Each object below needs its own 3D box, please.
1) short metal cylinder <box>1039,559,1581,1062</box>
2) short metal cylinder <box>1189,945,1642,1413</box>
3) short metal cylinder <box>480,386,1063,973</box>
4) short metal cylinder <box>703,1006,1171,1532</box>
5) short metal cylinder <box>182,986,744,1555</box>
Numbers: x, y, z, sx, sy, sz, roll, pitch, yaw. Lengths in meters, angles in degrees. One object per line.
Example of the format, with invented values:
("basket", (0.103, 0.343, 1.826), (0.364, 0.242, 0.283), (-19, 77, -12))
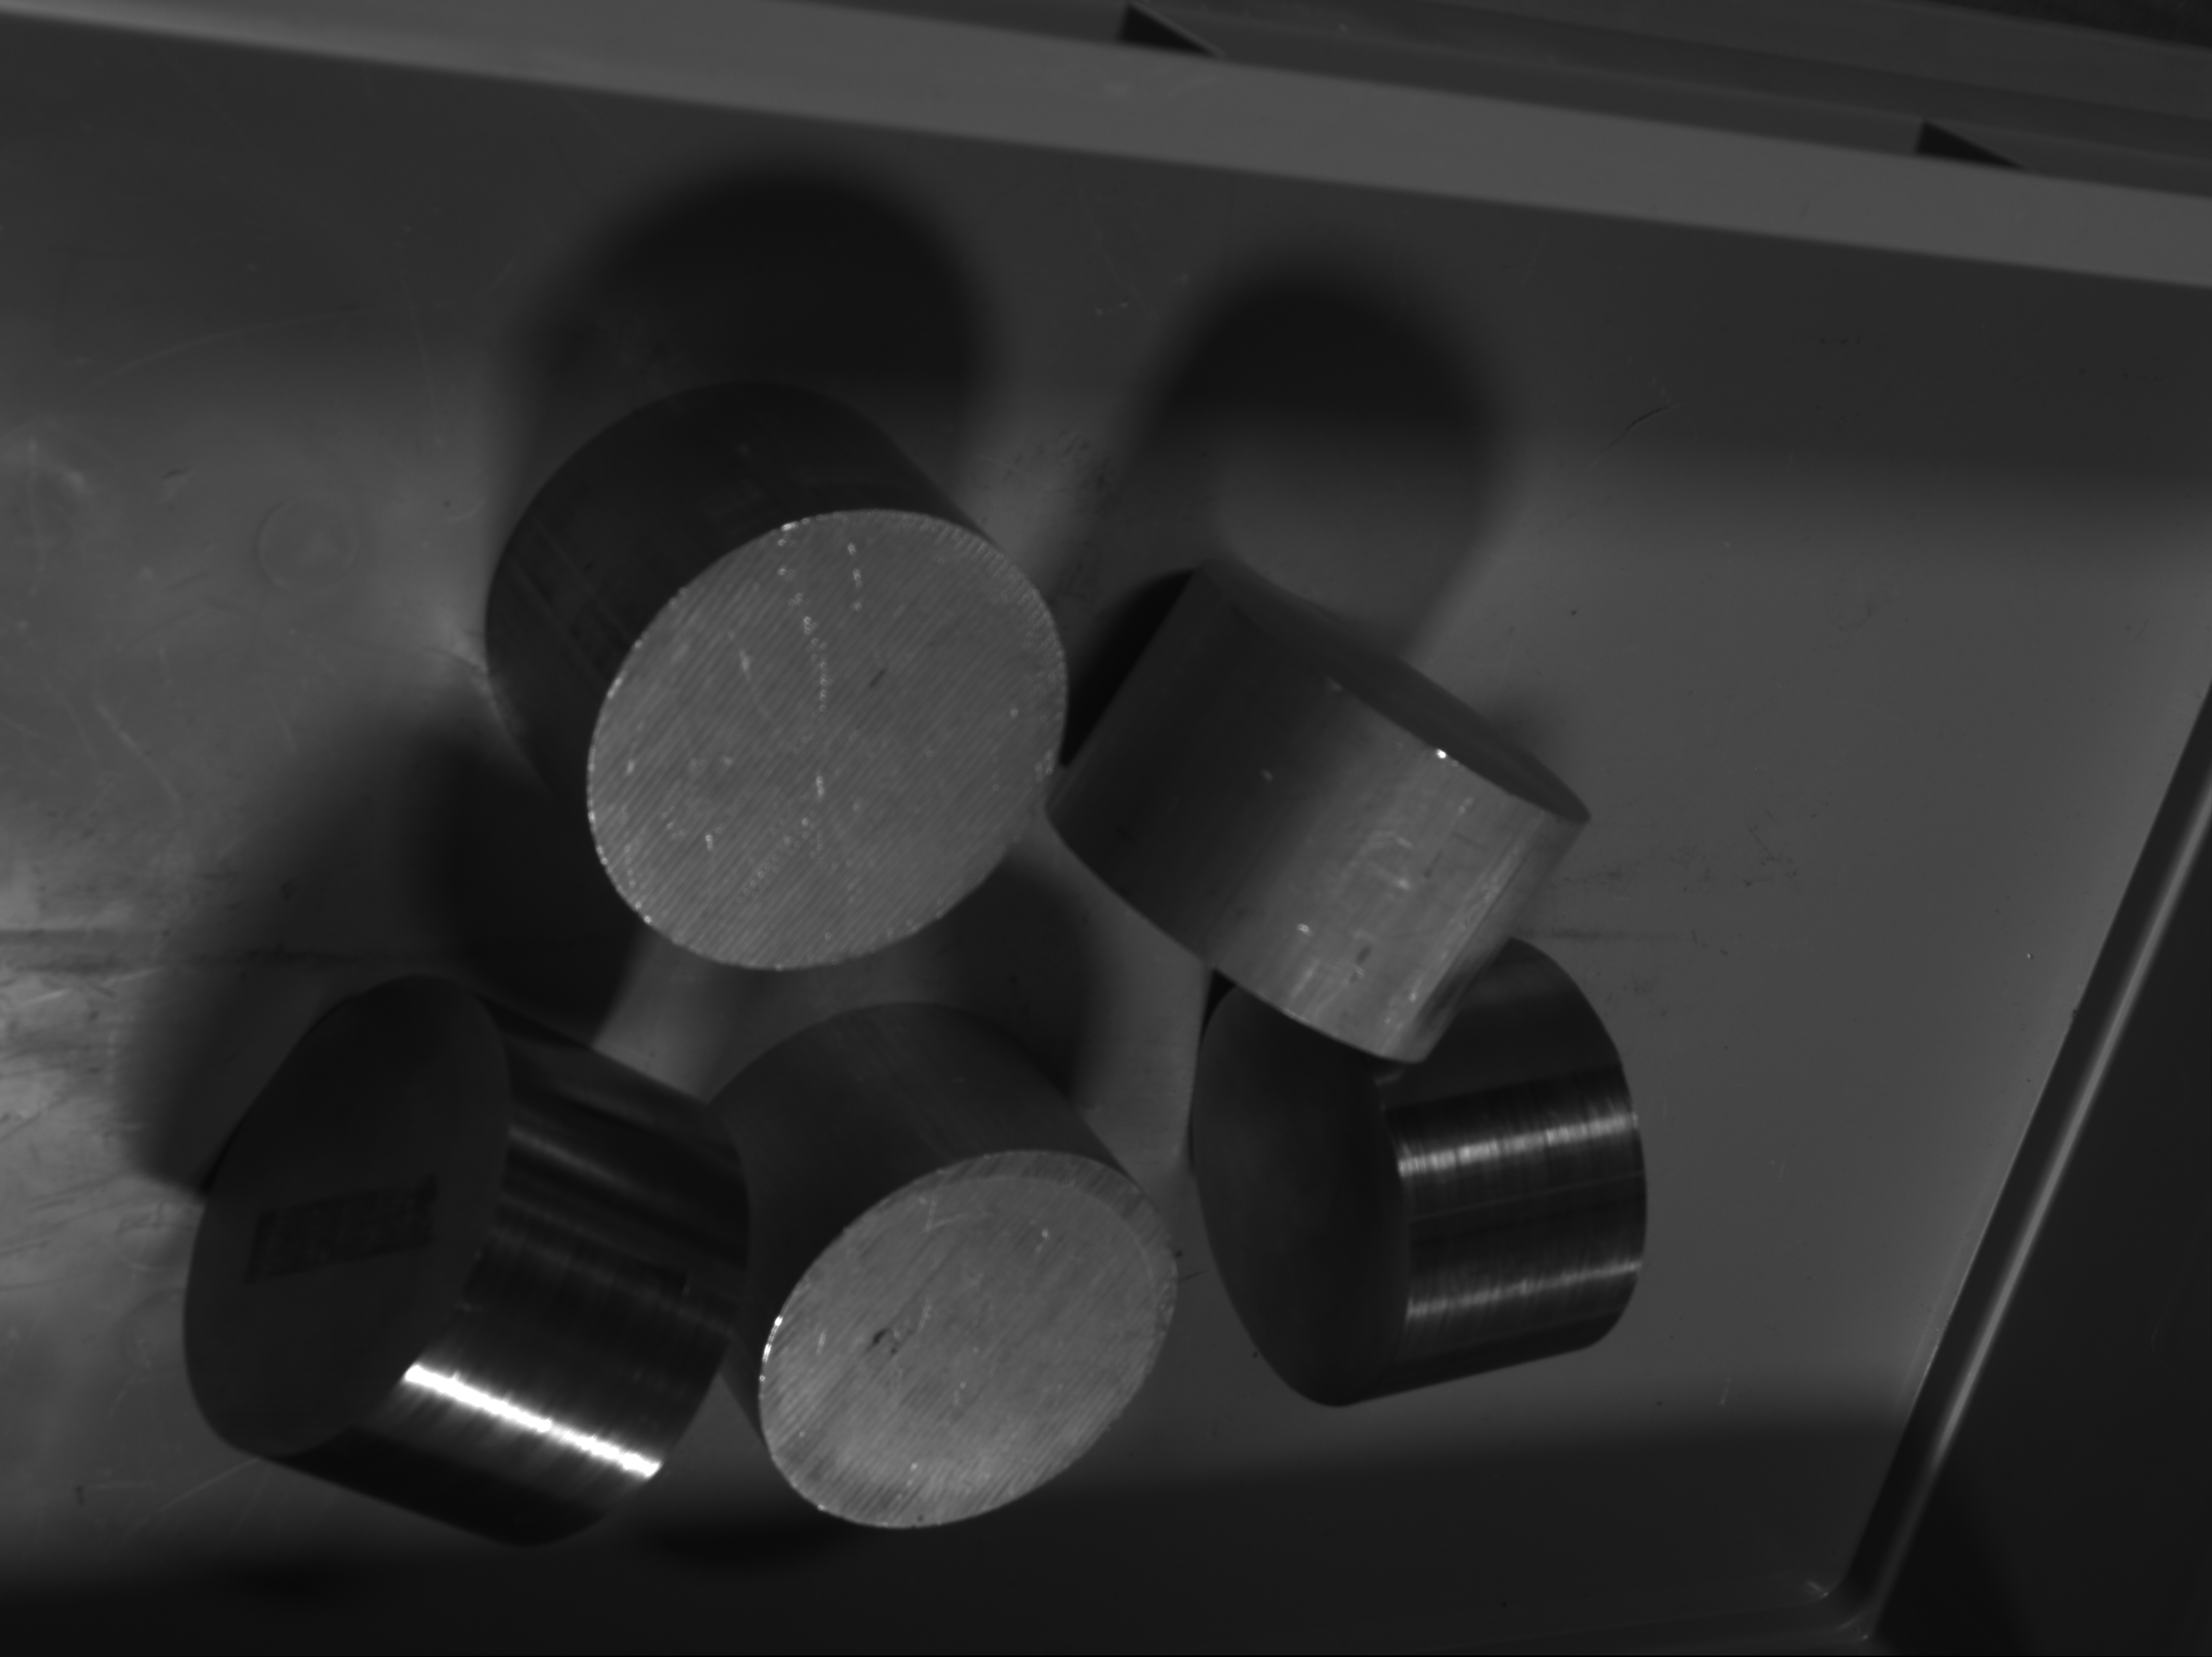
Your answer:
("short metal cylinder", (0.035, -0.004, 0.633), (0.080, 0.080, 0.050), (25, 104, -38))
("short metal cylinder", (0.057, 0.065, 0.686), (0.050, 0.080, 0.080), (-9, 122, -26))
("short metal cylinder", (-0.054, -0.024, 0.586), (0.080, 0.050, 0.080), (-15, 125, -22))
("short metal cylinder", (-0.035, 0.079, 0.661), (0.080, 0.050, 0.080), (-15, 125, -22))
("short metal cylinder", (-0.105, 0.072, 0.596), (0.050, 0.080, 0.080), (31, 100, -39))
